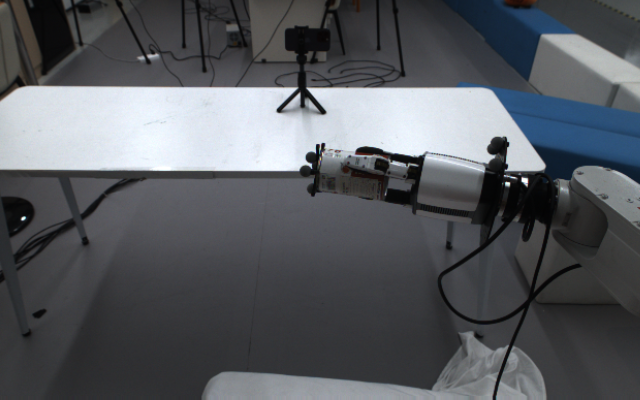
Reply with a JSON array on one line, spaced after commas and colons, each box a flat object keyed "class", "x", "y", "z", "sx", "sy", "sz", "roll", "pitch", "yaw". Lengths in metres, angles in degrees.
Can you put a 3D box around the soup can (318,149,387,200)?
[{"class": "soup can", "x": 0.053, "y": -0.039, "z": 0.725, "sx": 0.101, "sy": 0.067, "sz": 0.067, "roll": 8, "pitch": 35, "yaw": 10}]
